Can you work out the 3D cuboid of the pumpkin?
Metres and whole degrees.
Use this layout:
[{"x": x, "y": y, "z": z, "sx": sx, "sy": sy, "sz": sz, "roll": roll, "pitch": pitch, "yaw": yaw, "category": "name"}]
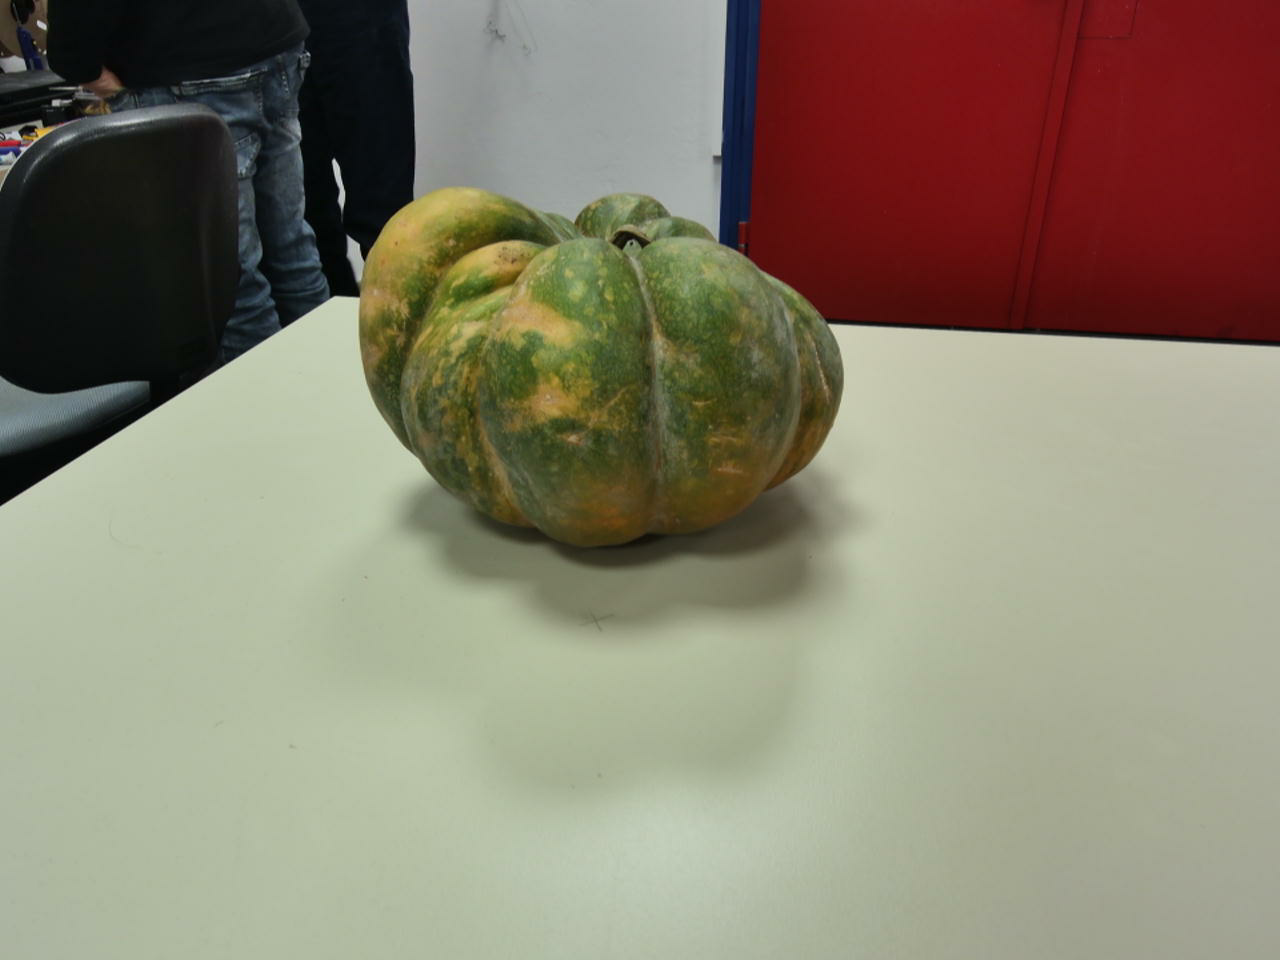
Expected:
[{"x": -0.021, "y": -0.070, "z": 0.545, "sx": 0.237, "sy": 0.173, "sz": 0.270, "roll": -20, "pitch": 32, "yaw": -36, "category": "pumpkin"}]
